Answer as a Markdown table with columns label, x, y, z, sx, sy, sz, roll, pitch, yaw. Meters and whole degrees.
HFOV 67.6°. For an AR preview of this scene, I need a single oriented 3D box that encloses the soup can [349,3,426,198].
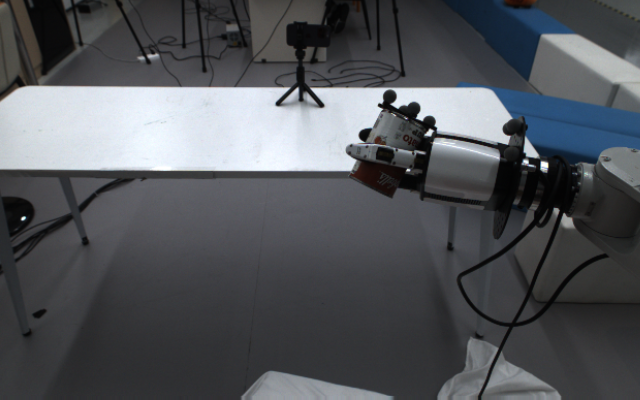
| label | x | y | z | sx | sy | sz | roll | pitch | yaw |
| --- | --- | --- | --- | --- | --- | --- | --- | --- | --- |
| soup can | 0.091 | -0.062 | 0.650 | 0.067 | 0.101 | 0.067 | 26 | 5 | -3 |
